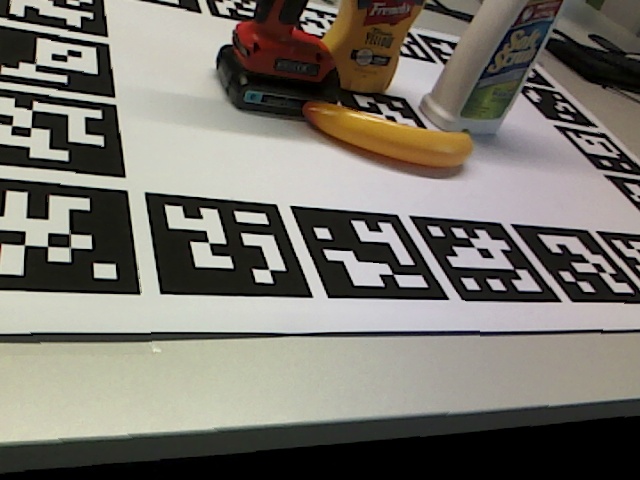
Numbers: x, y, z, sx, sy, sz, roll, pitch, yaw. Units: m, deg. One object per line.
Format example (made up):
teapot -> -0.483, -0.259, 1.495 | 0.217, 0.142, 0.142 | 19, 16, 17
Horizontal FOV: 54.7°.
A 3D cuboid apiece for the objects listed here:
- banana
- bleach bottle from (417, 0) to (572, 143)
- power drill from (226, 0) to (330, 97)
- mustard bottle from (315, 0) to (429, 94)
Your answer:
banana -> 0.088, -0.104, 0.624 | 0.196, 0.039, 0.074 | 4, 46, -22
bleach bottle -> 0.207, -0.225, 0.678 | 0.102, 0.251, 0.068 | -4, 47, -32
power drill -> 0.000, -0.233, 0.577 | 0.183, 0.187, 0.058 | 3, 35, -30
mustard bottle -> 0.067, -0.256, 0.673 | 0.095, 0.191, 0.059 | 4, 41, -27
